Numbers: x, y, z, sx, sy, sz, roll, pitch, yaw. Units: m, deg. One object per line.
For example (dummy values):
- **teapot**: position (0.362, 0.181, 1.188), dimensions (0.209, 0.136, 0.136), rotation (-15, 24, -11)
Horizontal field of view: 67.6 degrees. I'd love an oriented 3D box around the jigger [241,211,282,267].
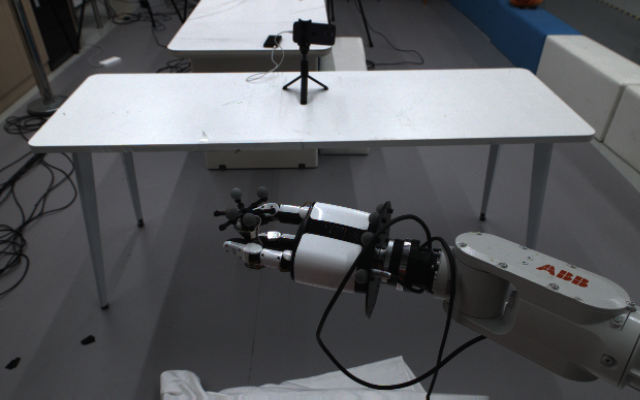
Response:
- **jigger**: position (-0.093, 0.058, 0.693), dimensions (0.043, 0.071, 0.043), rotation (-9, 31, 5)
